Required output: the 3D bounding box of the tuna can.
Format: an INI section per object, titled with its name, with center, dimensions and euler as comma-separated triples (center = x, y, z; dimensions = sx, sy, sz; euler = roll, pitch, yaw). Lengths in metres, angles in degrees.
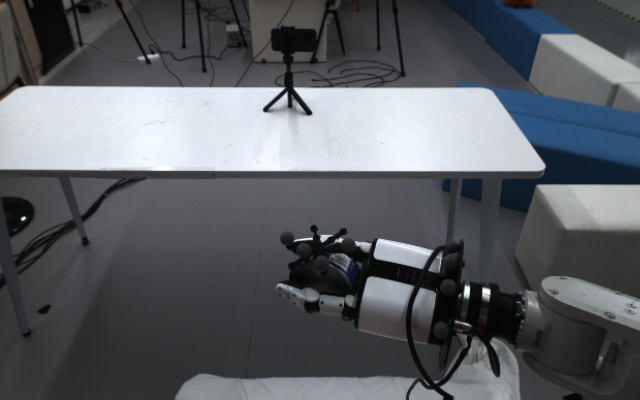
[tuna can]
center = 0.010, 0.096, 0.606
dimensions = 0.085, 0.085, 0.034
euler = 14, 41, 16
